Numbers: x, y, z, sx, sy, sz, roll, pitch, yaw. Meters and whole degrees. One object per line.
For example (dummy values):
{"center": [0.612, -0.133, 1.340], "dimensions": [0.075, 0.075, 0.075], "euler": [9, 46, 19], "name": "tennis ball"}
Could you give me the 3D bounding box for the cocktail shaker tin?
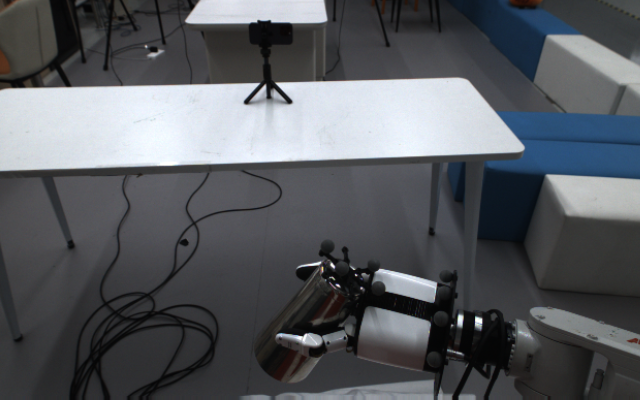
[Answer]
{"center": [-0.010, 0.152, 0.647], "dimensions": [0.093, 0.170, 0.093], "euler": [25, 32, -17], "name": "cocktail shaker tin"}
